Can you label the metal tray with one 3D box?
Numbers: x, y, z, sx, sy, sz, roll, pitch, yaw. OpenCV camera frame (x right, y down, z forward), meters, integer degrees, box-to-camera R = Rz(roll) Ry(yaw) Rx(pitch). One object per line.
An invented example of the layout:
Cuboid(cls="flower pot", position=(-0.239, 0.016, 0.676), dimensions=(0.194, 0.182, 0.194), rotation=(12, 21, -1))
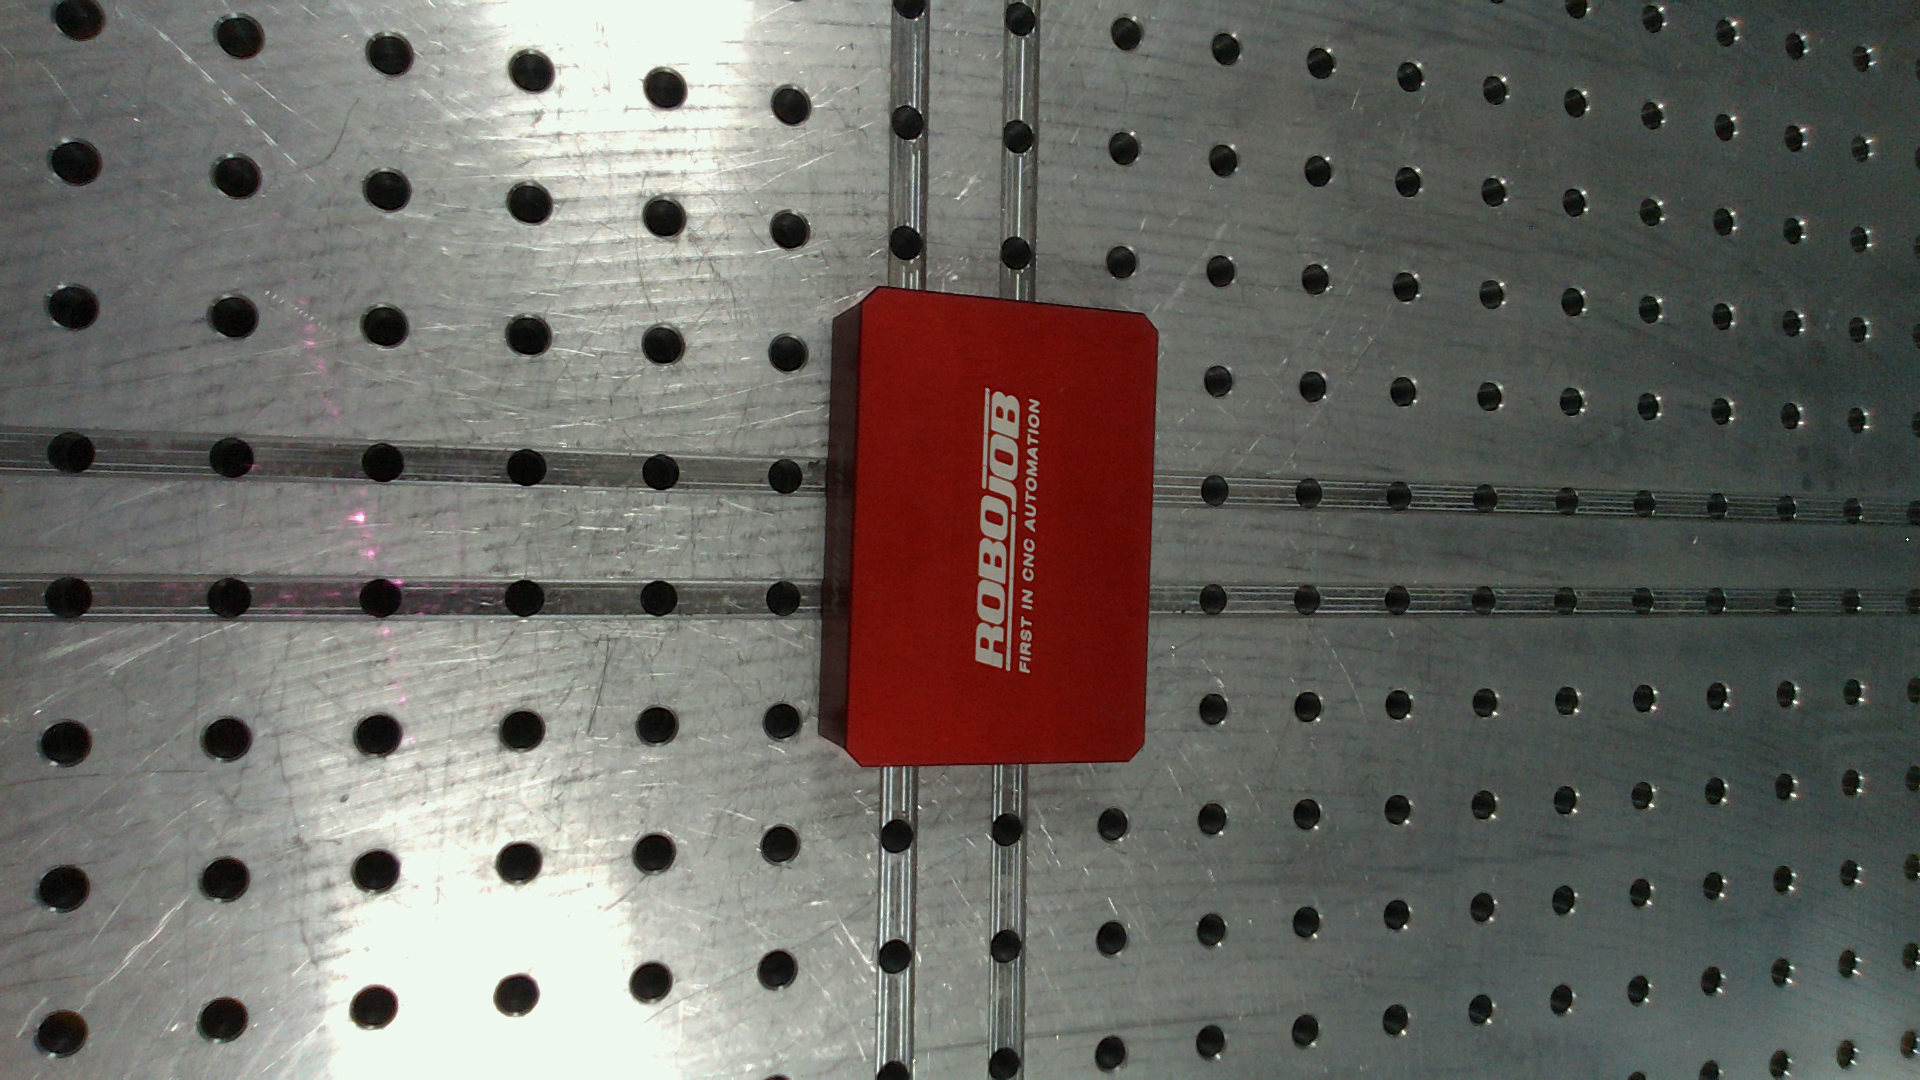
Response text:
Cuboid(cls="metal tray", position=(0.008, -0.003, 0.396), dimensions=(0.090, 0.030, 0.130), rotation=(2, 89, -20))
